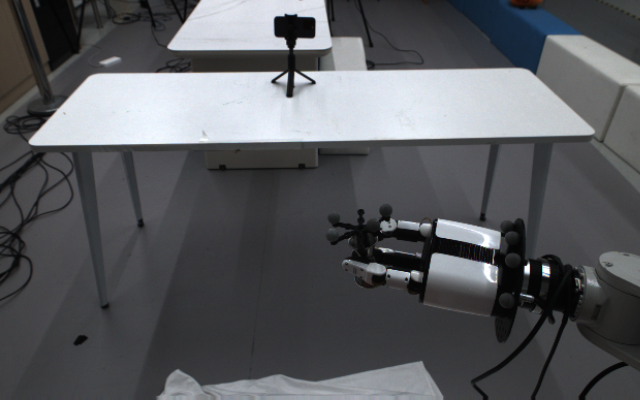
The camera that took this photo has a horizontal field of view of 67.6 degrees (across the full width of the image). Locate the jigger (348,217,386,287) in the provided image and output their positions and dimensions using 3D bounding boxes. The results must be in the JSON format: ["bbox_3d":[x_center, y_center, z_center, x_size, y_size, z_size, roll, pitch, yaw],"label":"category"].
[{"bbox_3d":[0.064,0.079,0.659,0.043,0.071,0.043,-10,32,6],"label":"jigger"}]
